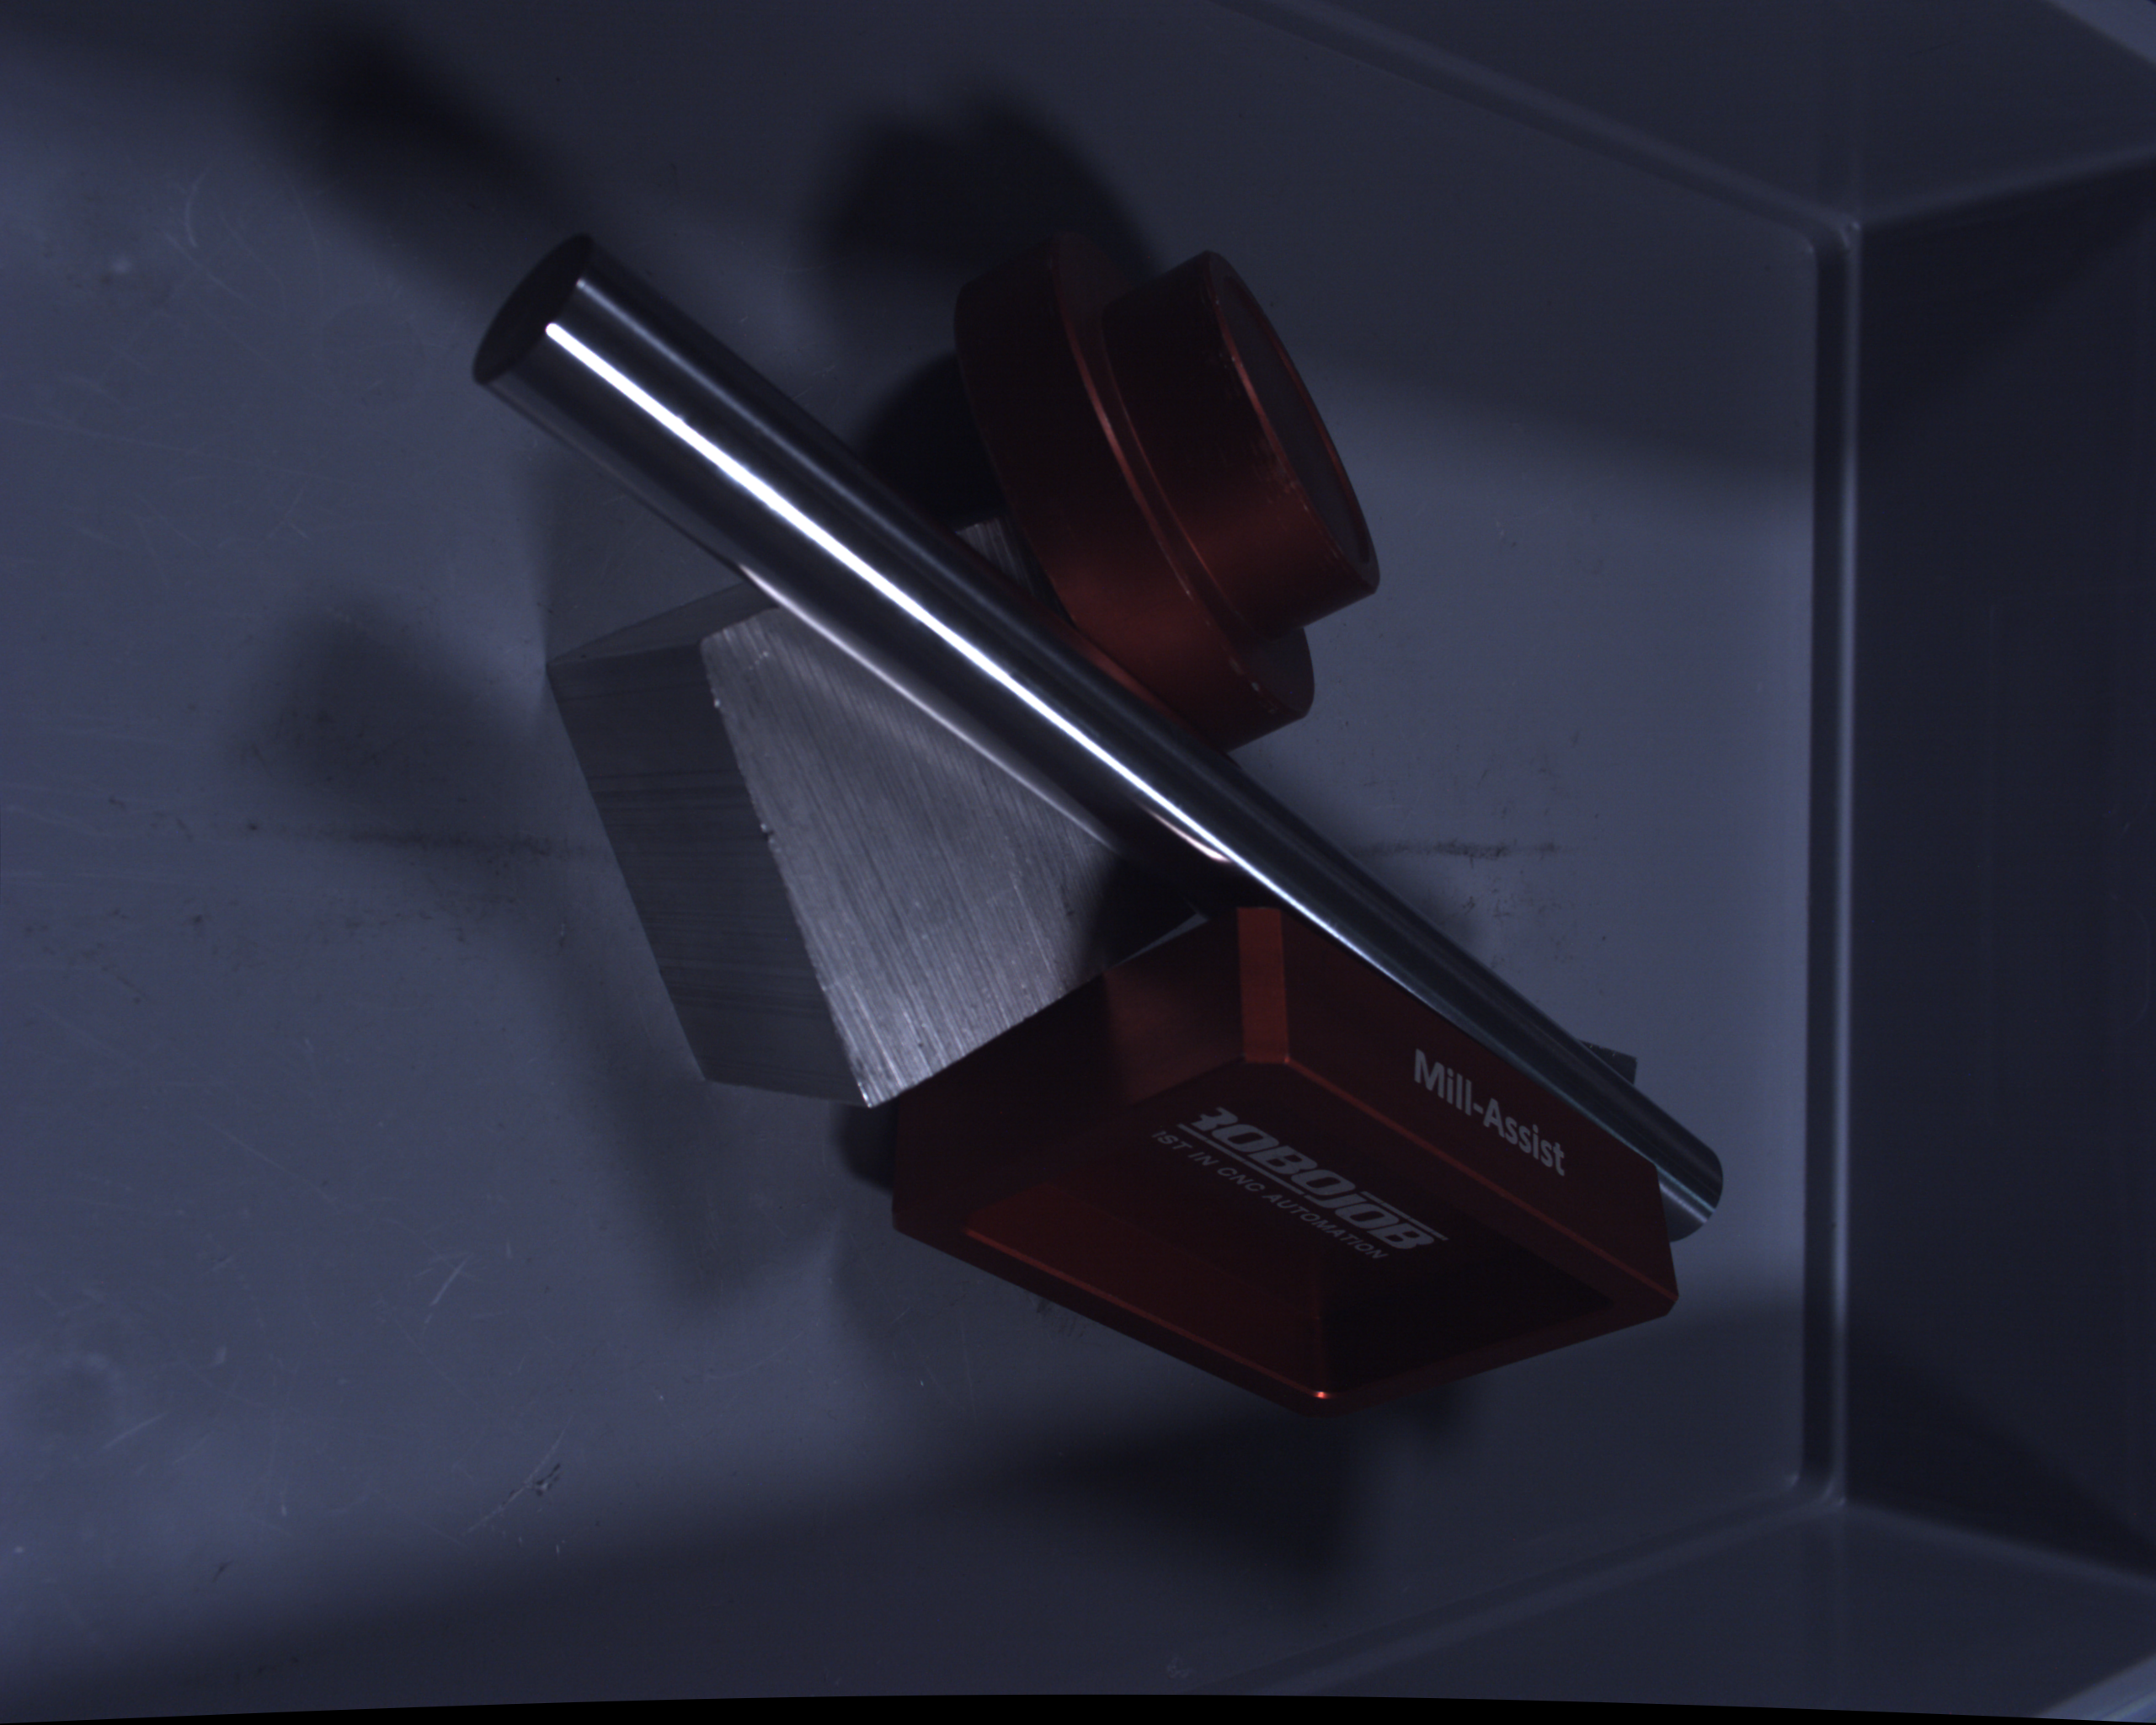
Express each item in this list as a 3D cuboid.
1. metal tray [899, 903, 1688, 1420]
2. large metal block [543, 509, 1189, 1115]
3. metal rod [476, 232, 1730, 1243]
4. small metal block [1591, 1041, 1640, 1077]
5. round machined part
[{"bbox_3d":[0.042,0.063,0.396,0.130,0.090,0.030,33,42,-36],"label":"metal tray"},{"bbox_3d":[-0.033,-0.012,0.362,0.081,0.050,0.080,-29,108,-37],"label":"large metal block"},{"bbox_3d":[0.028,-0.002,0.363,0.301,0.025,0.025,36,68,-35],"label":"metal rod"},{"bbox_3d":[0.095,0.064,0.470,0.025,0.050,0.050,19,78,-39],"label":"small metal block"},{"bbox_3d":[0.022,-0.071,0.380,0.098,0.042,0.098,54,20,-30],"label":"round machined part"}]
